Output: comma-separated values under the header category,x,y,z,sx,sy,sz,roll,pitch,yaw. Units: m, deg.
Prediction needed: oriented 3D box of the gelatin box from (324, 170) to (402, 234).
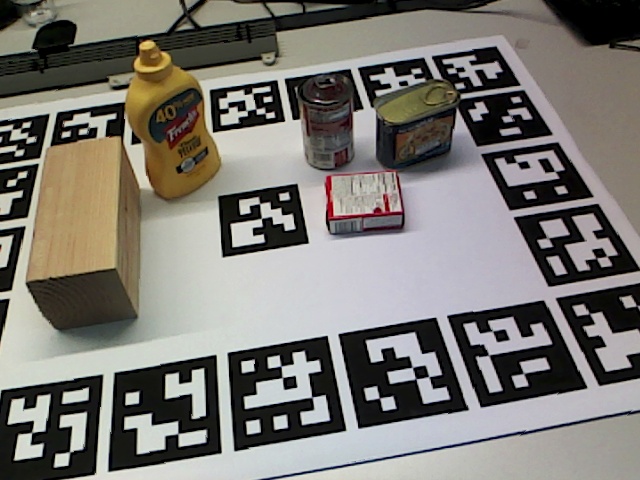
category,x,y,z,sx,sy,sz,roll,pitch,yaw
gelatin box,0.050,-0.045,0.731,0.089,0.030,0.073,-3,51,6

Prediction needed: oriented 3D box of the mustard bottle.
category,x,y,z,sx,sy,sz,roll,pitch,yaw
mustard bottle,-0.184,-0.137,0.739,0.096,0.191,0.059,-29,52,-21

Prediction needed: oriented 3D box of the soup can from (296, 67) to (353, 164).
category,x,y,z,sx,sy,sz,roll,pitch,yaw
soup can,0.008,-0.154,0.777,0.068,0.101,0.068,-3,51,3

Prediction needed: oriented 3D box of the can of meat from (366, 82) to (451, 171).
category,x,y,z,sx,sy,sz,roll,pitch,yaw
can of meat,0.109,-0.142,0.781,0.101,0.083,0.058,-19,51,-14

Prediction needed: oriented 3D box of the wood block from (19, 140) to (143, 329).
category,x,y,z,sx,sy,sz,roll,pitch,yaw
wood block,-0.260,-0.013,0.699,0.091,0.089,0.207,-8,45,-4
